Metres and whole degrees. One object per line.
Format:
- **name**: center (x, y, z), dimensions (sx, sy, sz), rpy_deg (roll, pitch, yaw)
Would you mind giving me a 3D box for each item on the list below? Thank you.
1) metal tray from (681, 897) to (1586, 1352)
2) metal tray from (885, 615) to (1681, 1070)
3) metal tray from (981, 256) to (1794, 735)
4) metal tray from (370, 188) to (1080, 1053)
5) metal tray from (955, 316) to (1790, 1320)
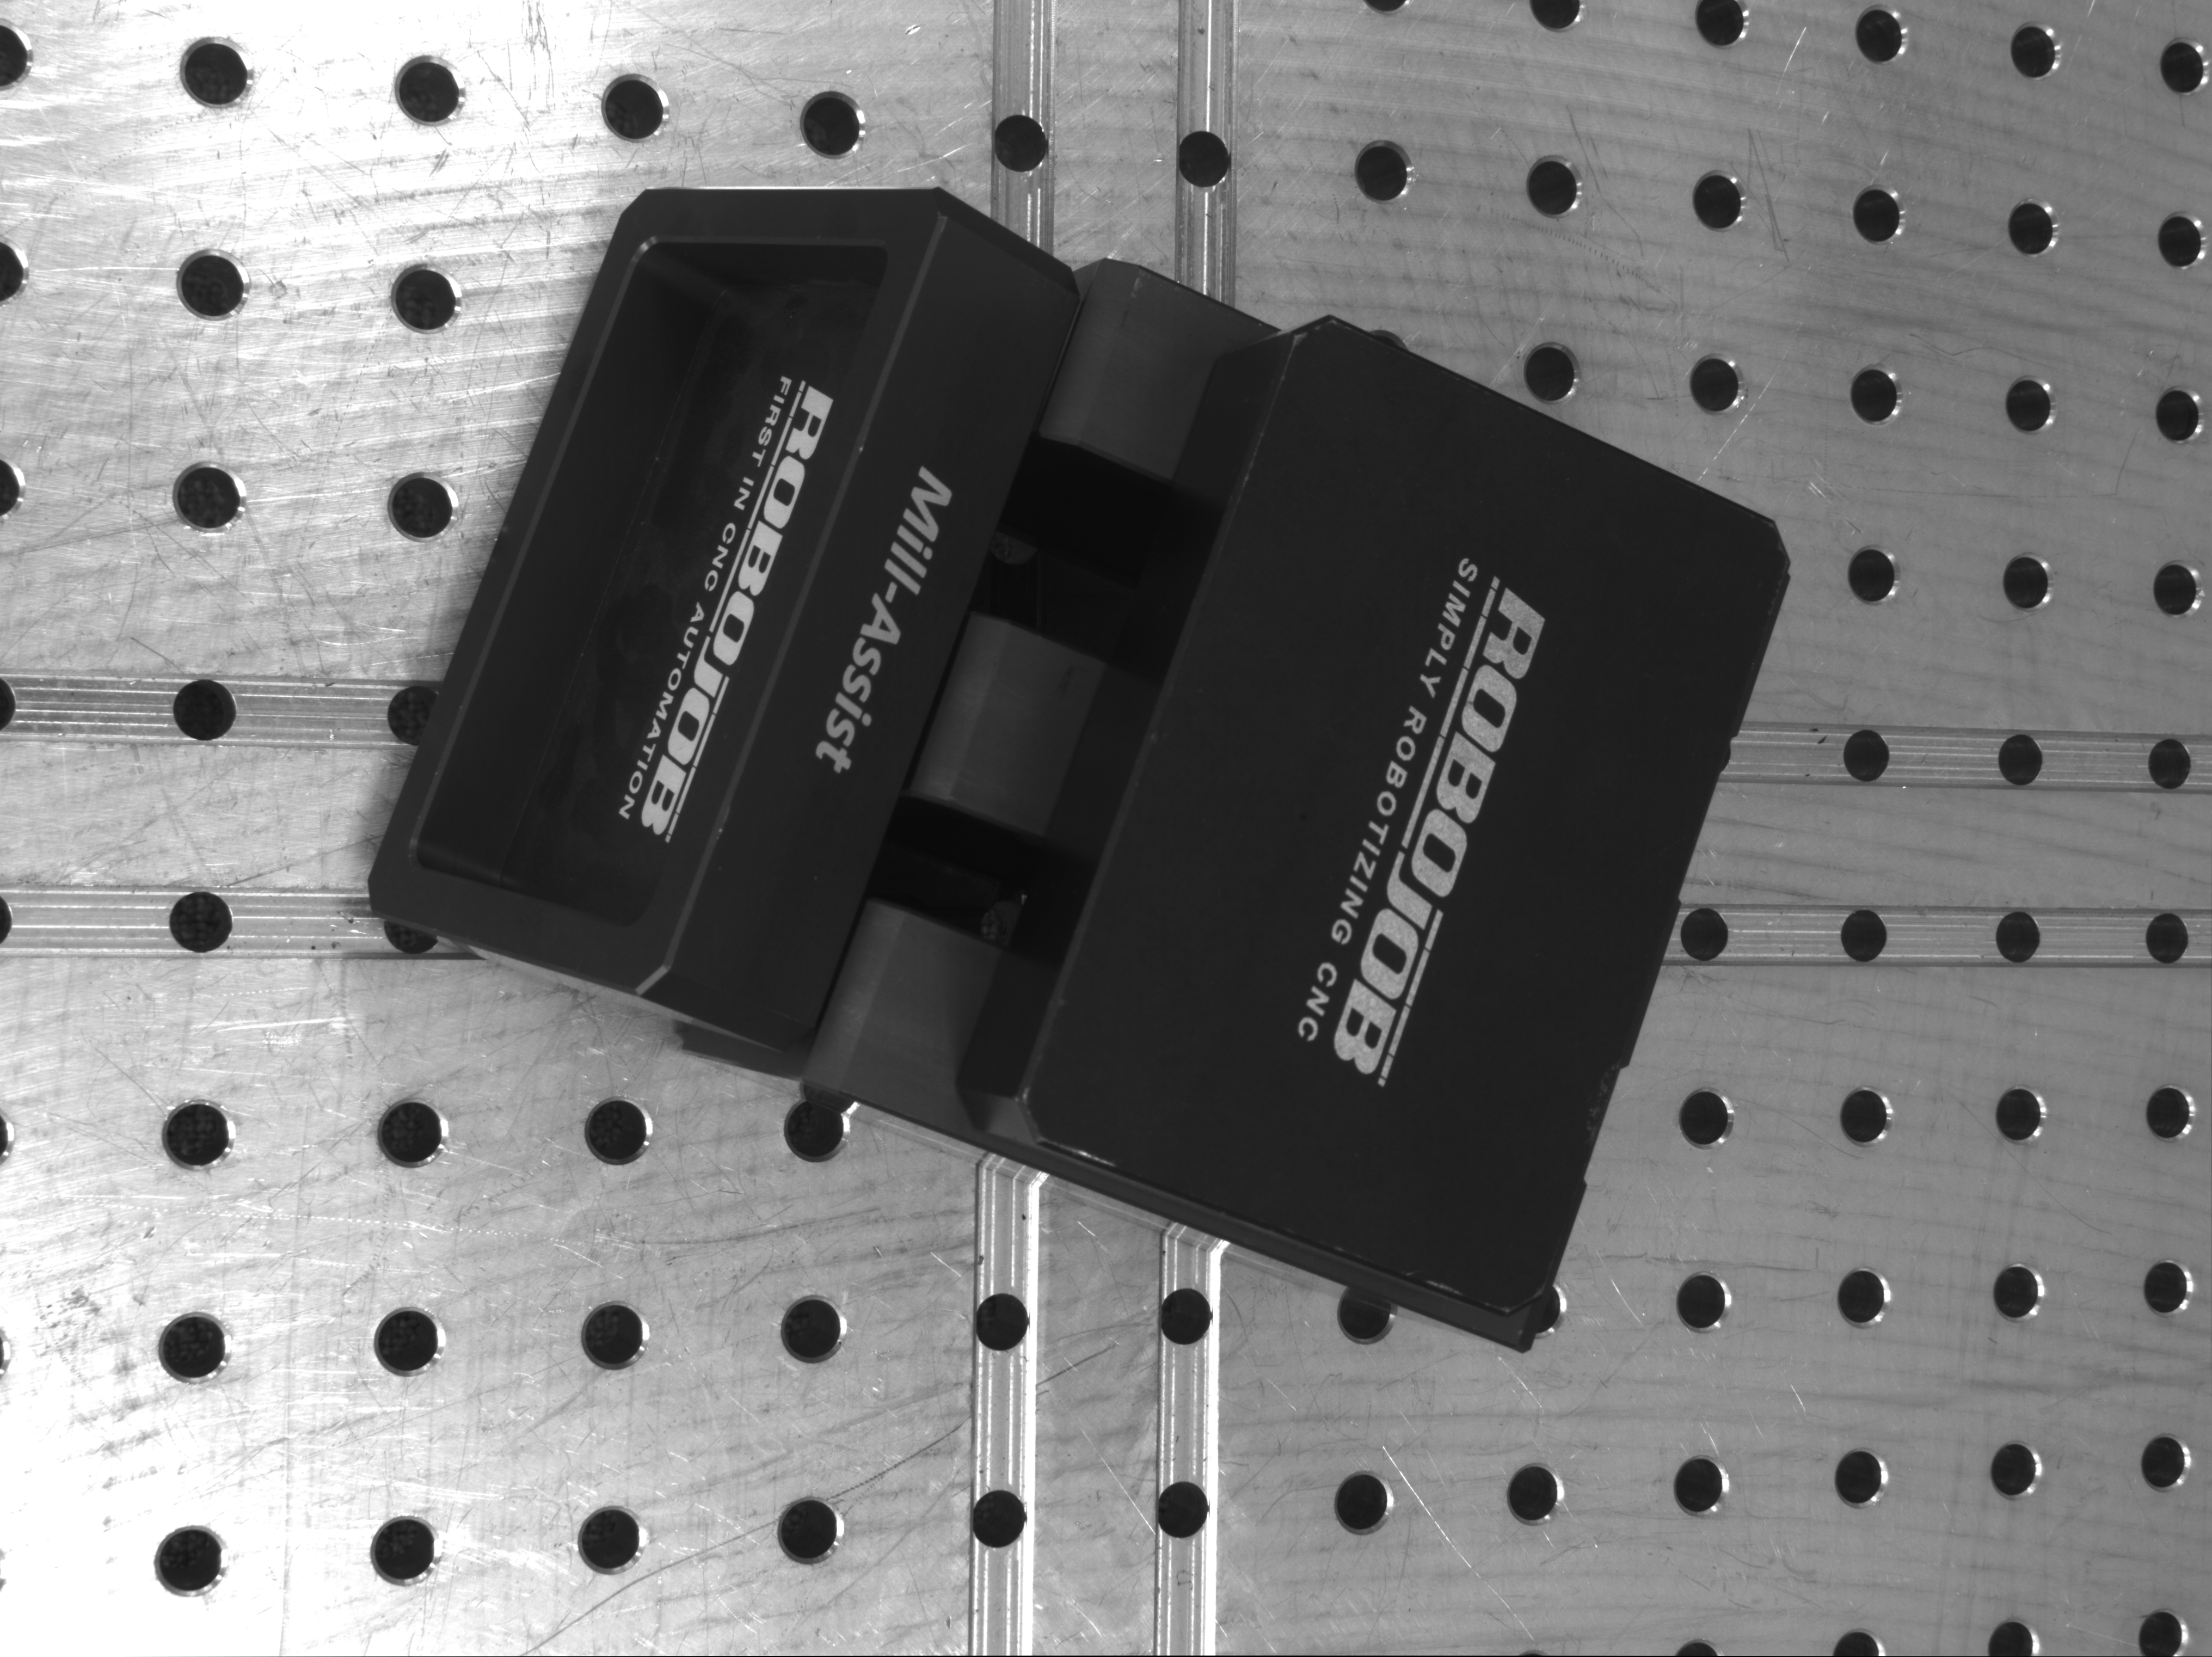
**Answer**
- **metal tray**: center (0.003, 0.048, 0.612), dimensions (0.130, 0.090, 0.030), rpy_deg (23, 83, -19)
- **metal tray**: center (0.019, 0.004, 0.617), dimensions (0.130, 0.090, 0.030), rpy_deg (21, 82, -20)
- **metal tray**: center (0.039, -0.052, 0.624), dimensions (0.130, 0.090, 0.030), rpy_deg (22, 83, -18)
- **metal tray**: center (-0.062, -0.036, 0.586), dimensions (0.030, 0.090, 0.130), rpy_deg (26, 81, -40)
- **metal tray**: center (0.042, -0.001, 0.562), dimensions (0.090, 0.030, 0.130), rpy_deg (22, 83, -18)
